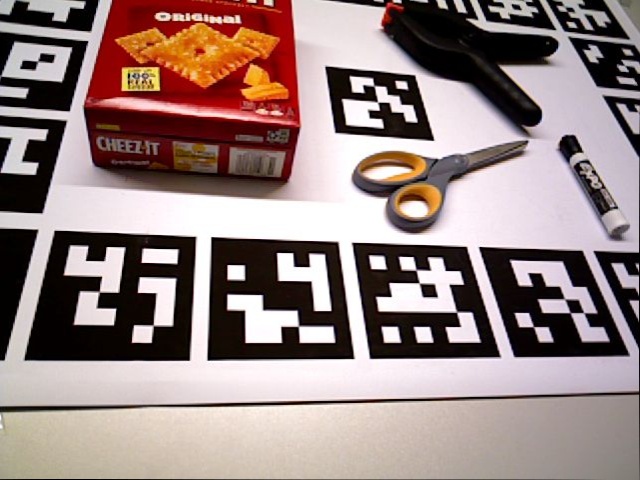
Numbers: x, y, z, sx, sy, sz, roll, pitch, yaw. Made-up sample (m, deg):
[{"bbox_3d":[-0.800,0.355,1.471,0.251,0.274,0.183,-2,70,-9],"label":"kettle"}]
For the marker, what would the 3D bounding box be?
[{"bbox_3d":[0.258,-0.058,0.525,0.019,0.020,0.119,-1,54,-13],"label":"marker"}]

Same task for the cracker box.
[{"bbox_3d":[-0.109,-0.161,0.486,0.163,0.074,0.210,3,54,-10],"label":"cracker box"}]

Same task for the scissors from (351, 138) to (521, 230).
[{"bbox_3d":[0.119,-0.069,0.503,0.198,0.016,0.087,-22,61,-28],"label":"scissors"}]

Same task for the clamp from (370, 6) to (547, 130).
[{"bbox_3d":[0.151,-0.215,0.621,0.202,0.037,0.161,27,52,7],"label":"clamp"}]
